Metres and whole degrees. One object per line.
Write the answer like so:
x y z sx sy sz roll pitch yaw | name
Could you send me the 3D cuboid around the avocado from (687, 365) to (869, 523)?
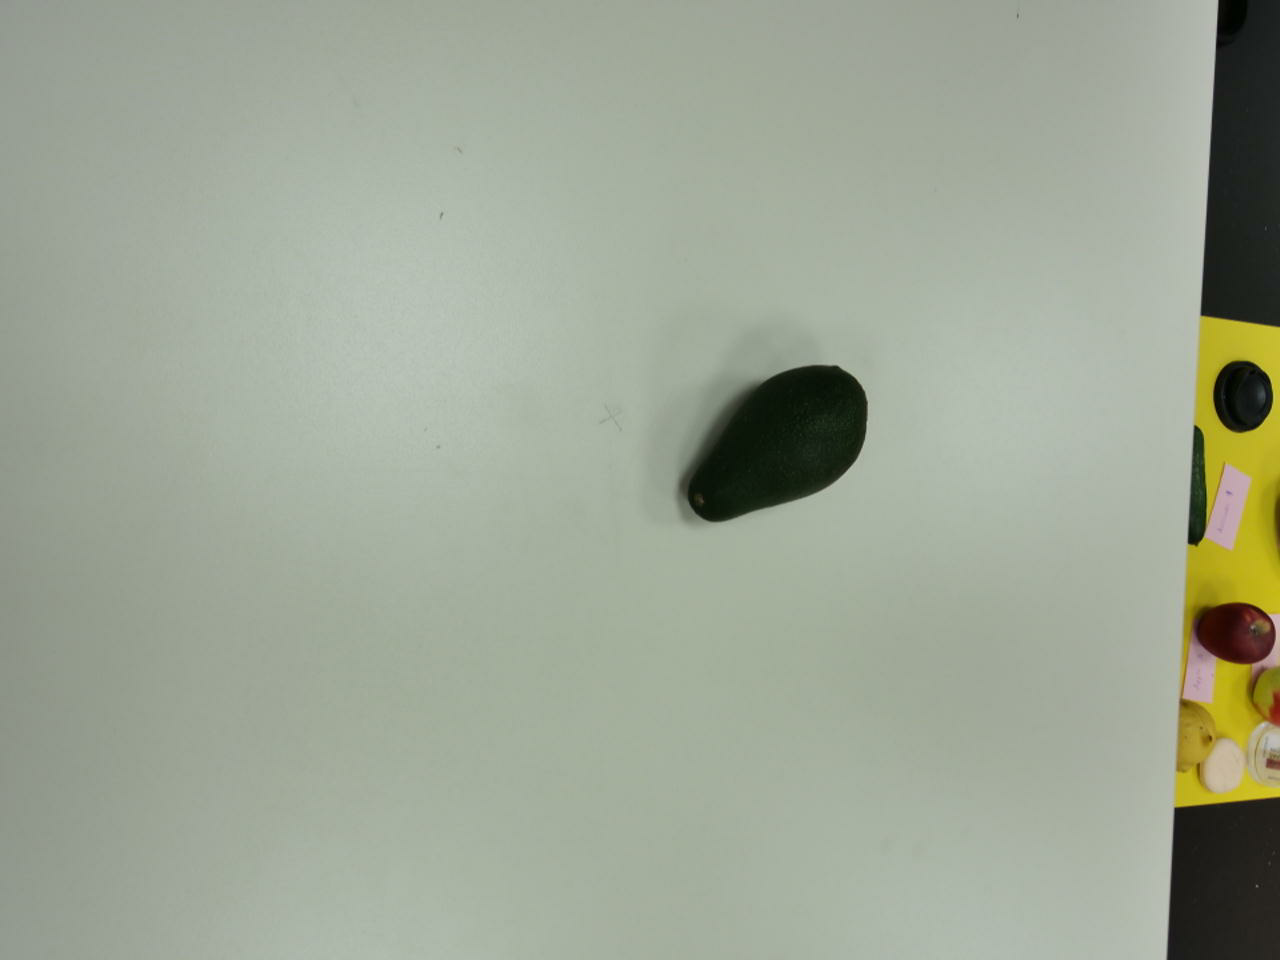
0.077 -0.021 0.561 0.109 0.071 0.072 -18 97 -21 | avocado
